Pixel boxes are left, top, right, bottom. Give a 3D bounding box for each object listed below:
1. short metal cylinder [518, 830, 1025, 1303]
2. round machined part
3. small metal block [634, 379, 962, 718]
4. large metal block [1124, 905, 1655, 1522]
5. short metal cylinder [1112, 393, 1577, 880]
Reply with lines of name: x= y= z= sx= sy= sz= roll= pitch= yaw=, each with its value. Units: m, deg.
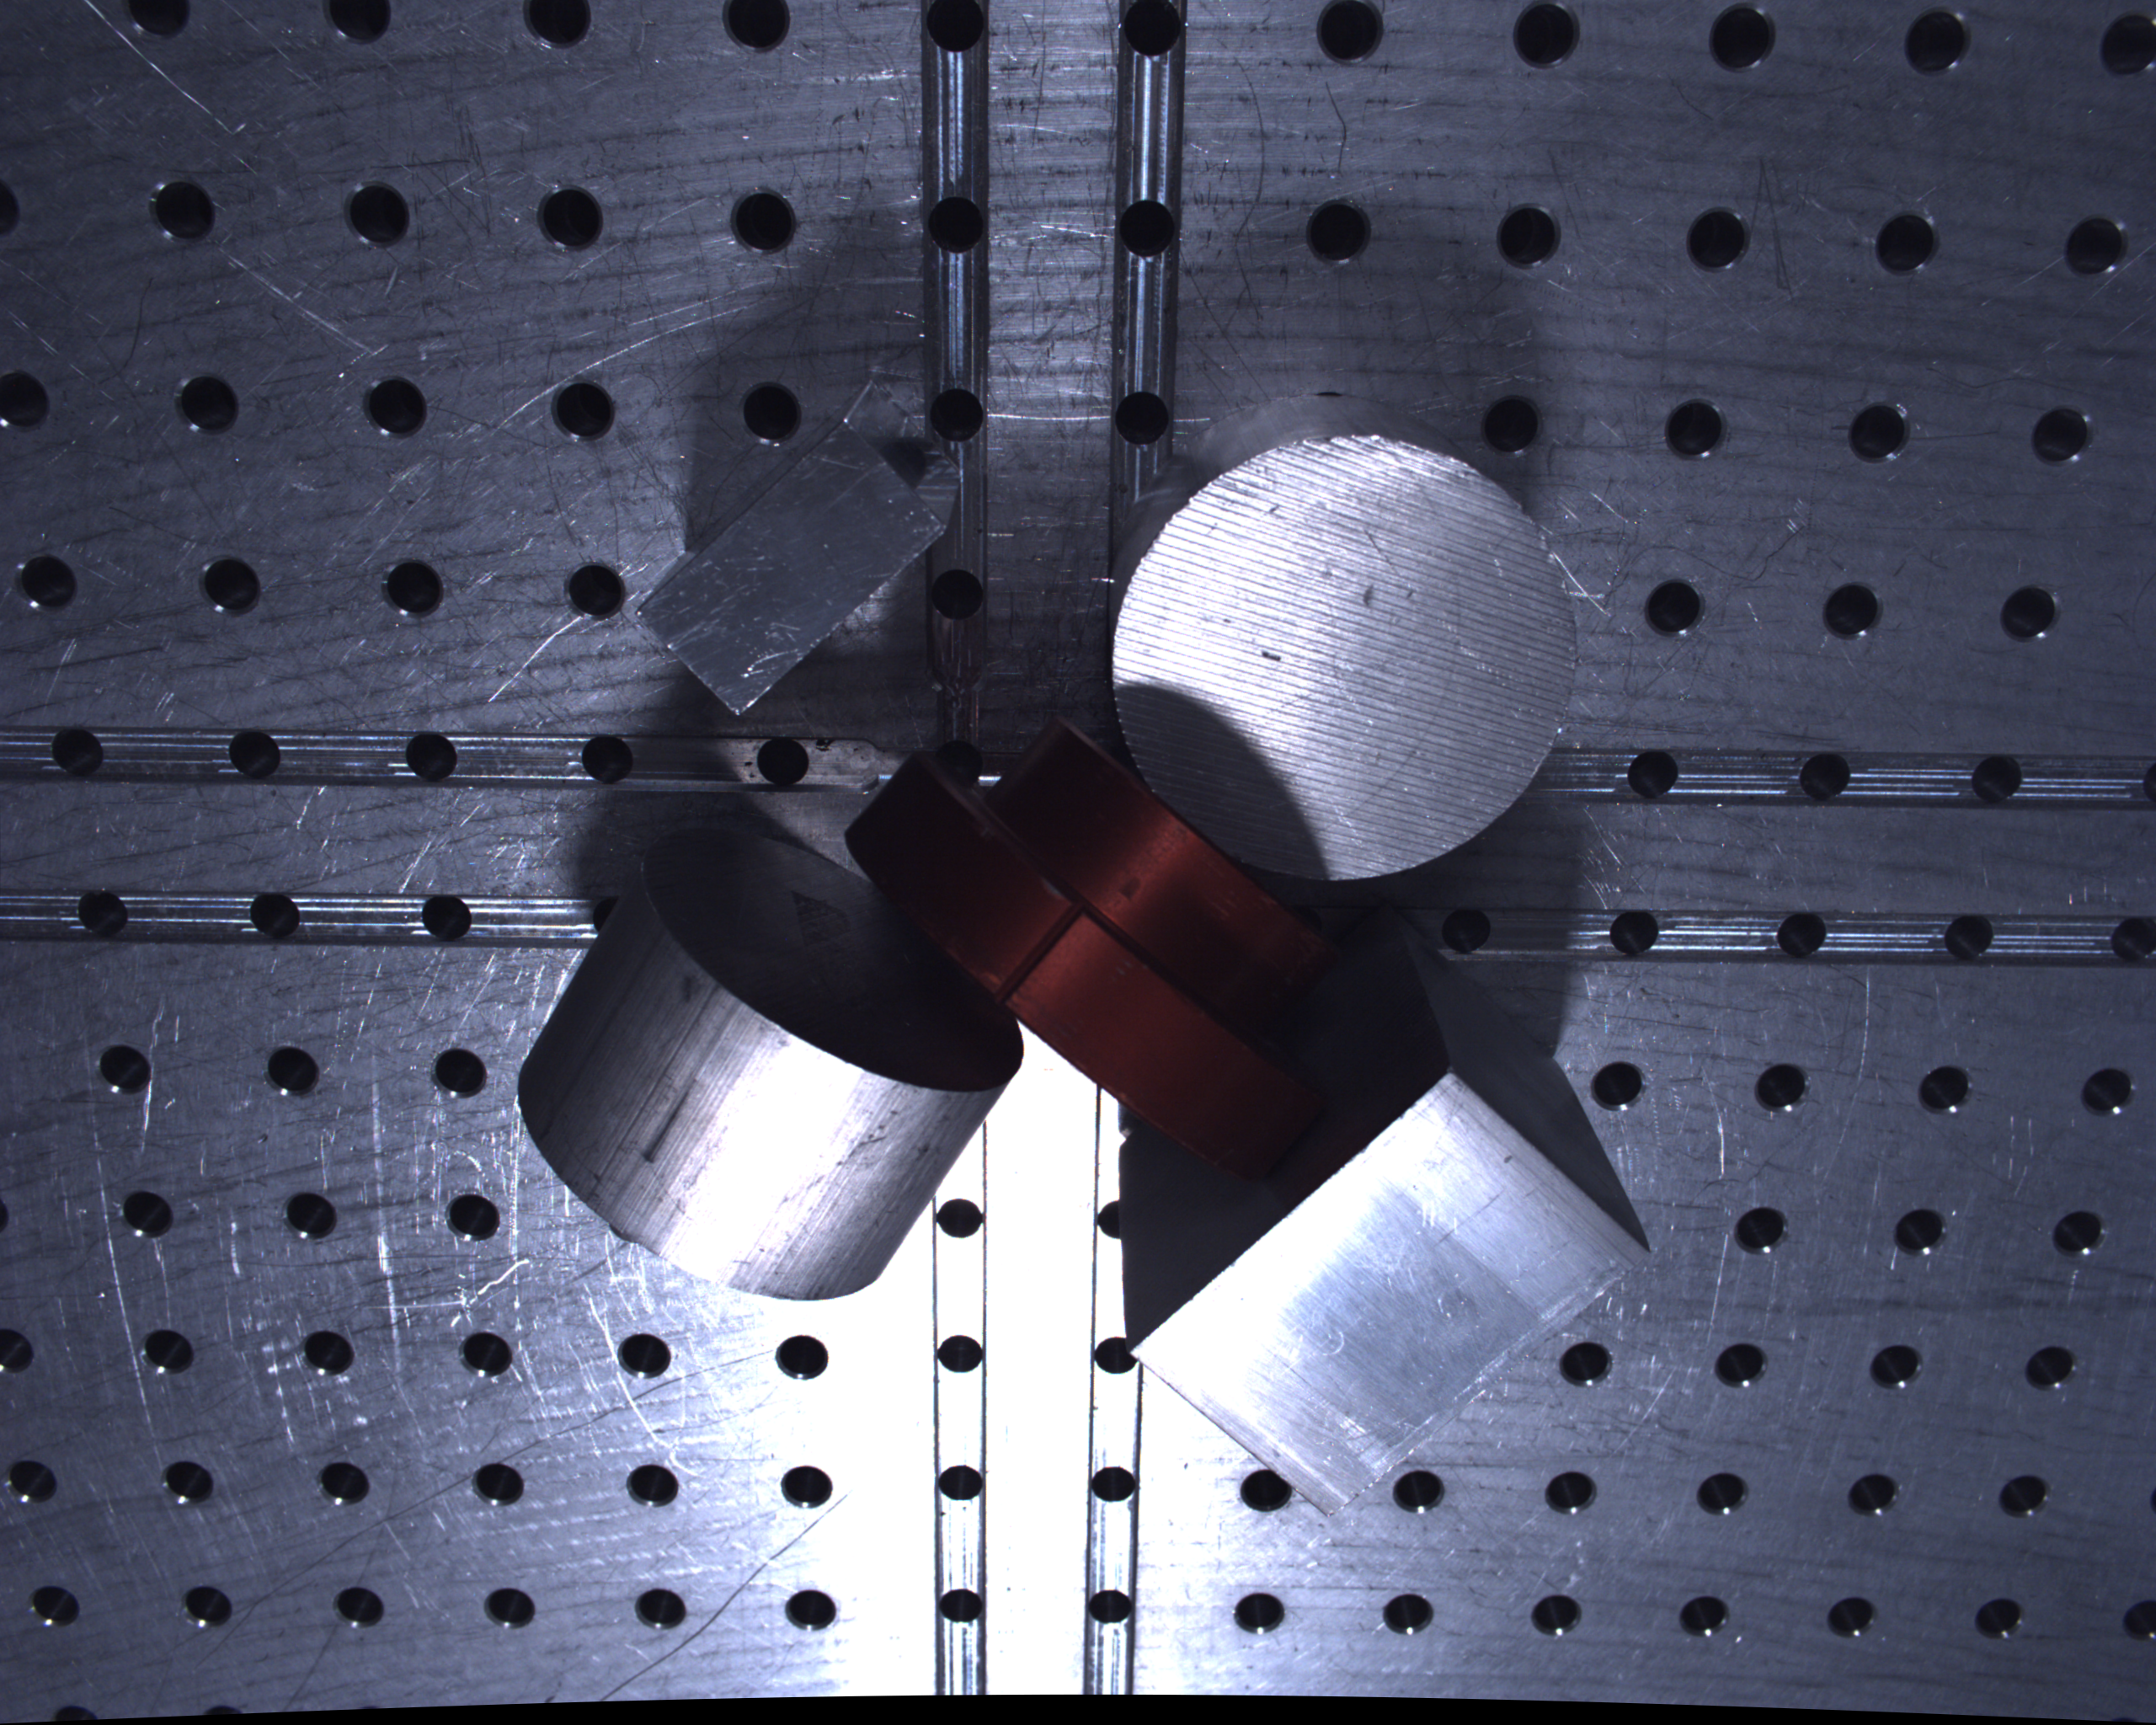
short metal cylinder: x=-0.058 y=0.037 z=0.397 sx=0.080 sy=0.080 sz=0.050 roll=29 pitch=107 yaw=-11
round machined part: x=0.008 y=0.011 z=0.379 sx=0.098 sy=0.098 sz=0.042 roll=39 pitch=93 yaw=-14
small metal block: x=-0.049 y=-0.058 z=0.378 sx=0.050 sy=0.050 sz=0.025 roll=-40 pitch=106 yaw=13
large metal block: x=0.056 y=0.066 z=0.410 sx=0.050 sy=0.080 sz=0.080 roll=42 pitch=105 yaw=-14
short metal cylinder: x=0.046 y=-0.043 z=0.384 sx=0.081 sy=0.050 sz=0.079 roll=0 pitch=110 yaw=-1
